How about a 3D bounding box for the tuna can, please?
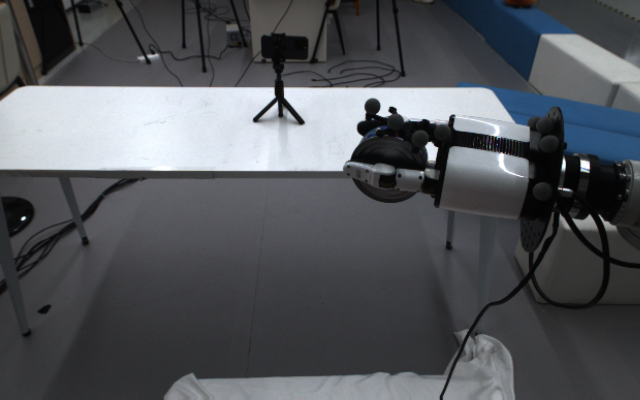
[{"bbox_3d":[0.081,-0.044,0.557,0.085,0.085,0.034,12,33,14],"label":"tuna can"}]
